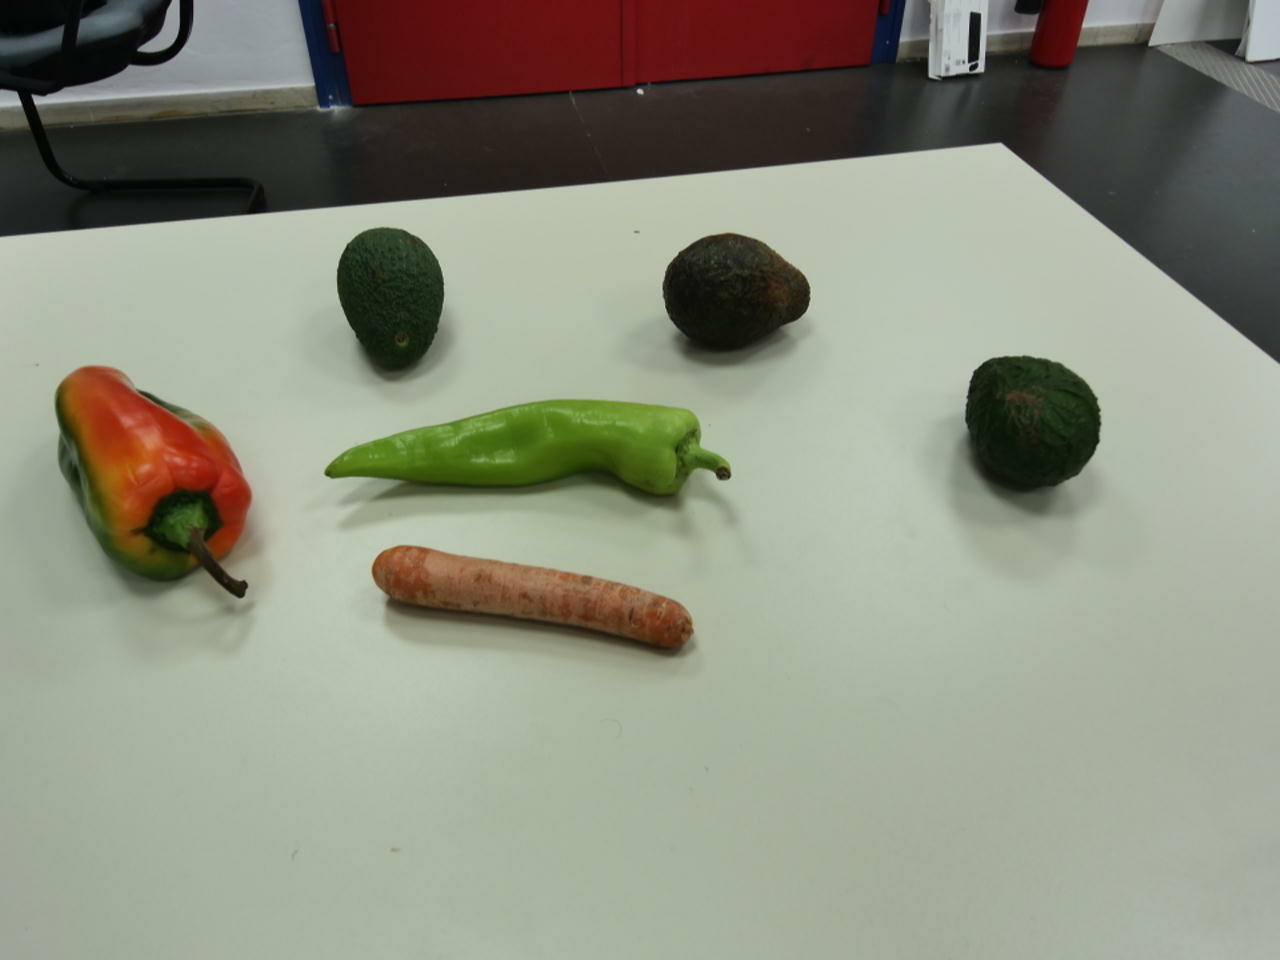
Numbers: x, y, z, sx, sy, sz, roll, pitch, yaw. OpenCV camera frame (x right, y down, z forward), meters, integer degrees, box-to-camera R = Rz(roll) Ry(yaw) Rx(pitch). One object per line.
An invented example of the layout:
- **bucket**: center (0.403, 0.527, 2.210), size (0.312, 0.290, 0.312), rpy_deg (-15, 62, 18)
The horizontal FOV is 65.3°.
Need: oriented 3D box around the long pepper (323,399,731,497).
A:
- **long pepper**: center (-0.055, -0.018, 0.520), size (0.205, 0.045, 0.065), rpy_deg (3, 39, 3)
